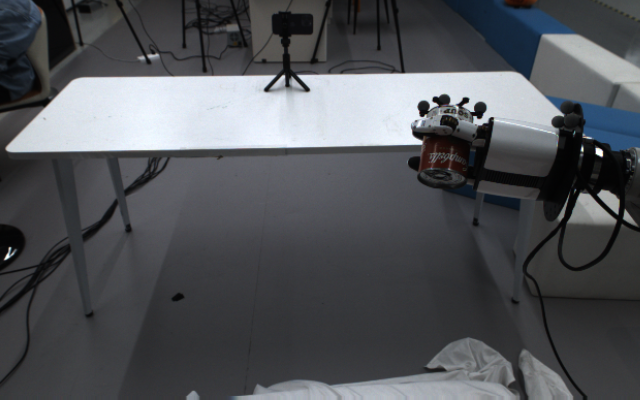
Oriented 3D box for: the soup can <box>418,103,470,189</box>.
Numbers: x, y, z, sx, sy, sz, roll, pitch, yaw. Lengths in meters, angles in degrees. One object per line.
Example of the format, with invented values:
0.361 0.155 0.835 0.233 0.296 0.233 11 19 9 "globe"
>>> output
0.178 -0.075 0.680 0.067 0.067 0.101 9 70 10 "soup can"
